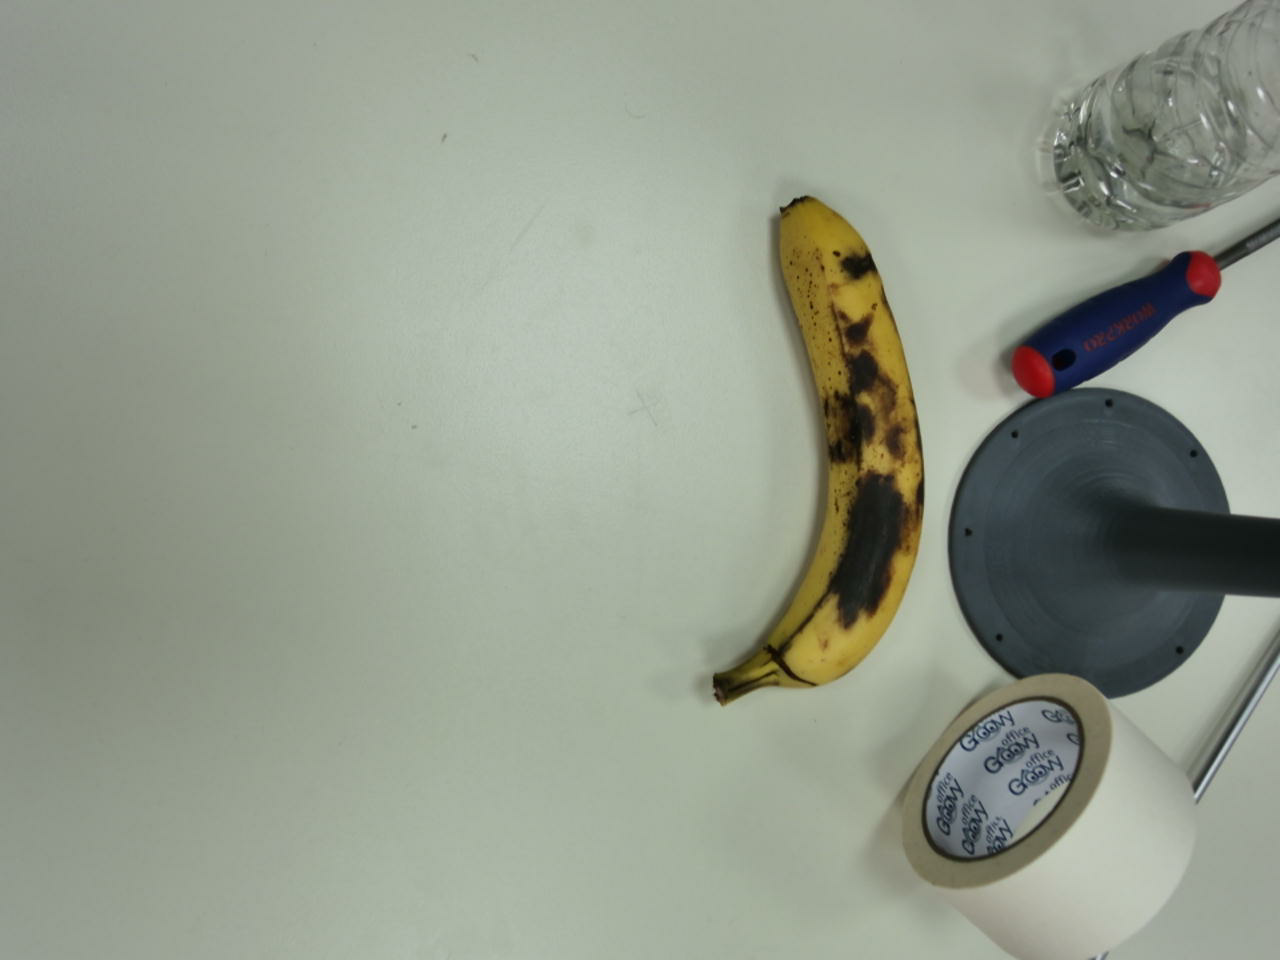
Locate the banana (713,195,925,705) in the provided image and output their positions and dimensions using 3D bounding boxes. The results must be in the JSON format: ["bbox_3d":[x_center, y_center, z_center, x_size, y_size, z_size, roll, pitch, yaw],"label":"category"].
[{"bbox_3d":[0.087,-0.009,0.436,0.084,0.037,0.222,10,88,-11],"label":"banana"}]
